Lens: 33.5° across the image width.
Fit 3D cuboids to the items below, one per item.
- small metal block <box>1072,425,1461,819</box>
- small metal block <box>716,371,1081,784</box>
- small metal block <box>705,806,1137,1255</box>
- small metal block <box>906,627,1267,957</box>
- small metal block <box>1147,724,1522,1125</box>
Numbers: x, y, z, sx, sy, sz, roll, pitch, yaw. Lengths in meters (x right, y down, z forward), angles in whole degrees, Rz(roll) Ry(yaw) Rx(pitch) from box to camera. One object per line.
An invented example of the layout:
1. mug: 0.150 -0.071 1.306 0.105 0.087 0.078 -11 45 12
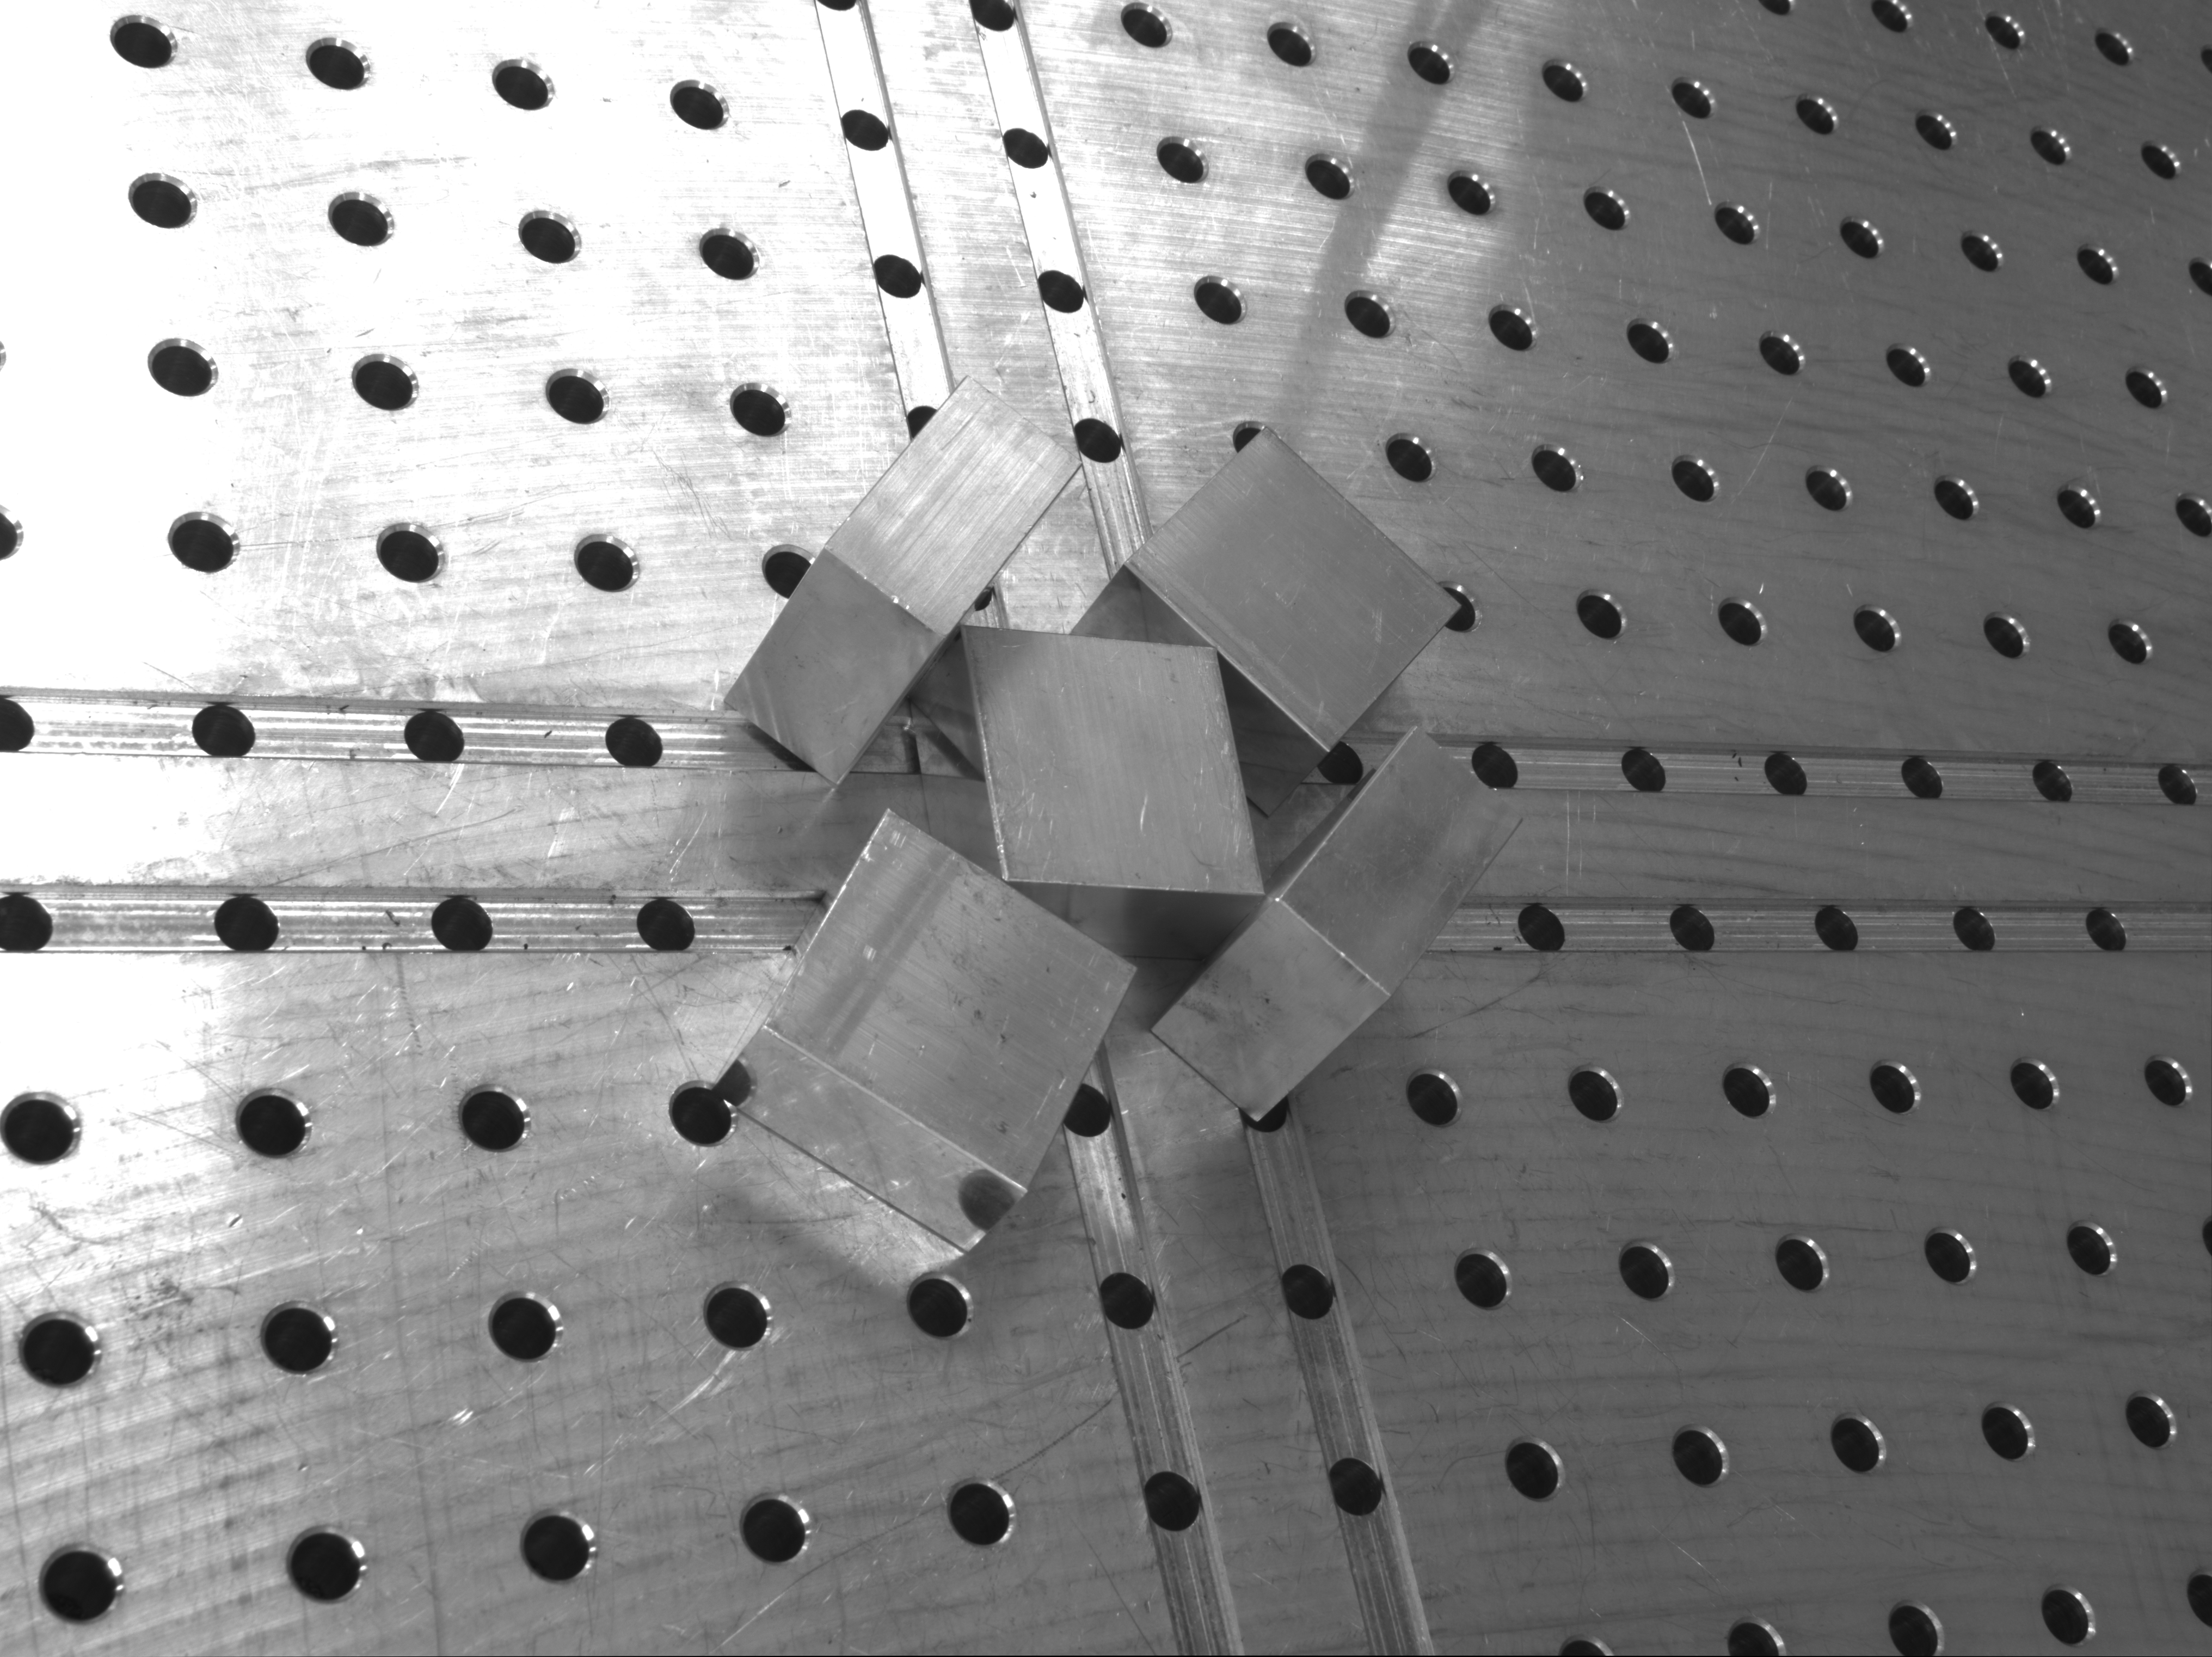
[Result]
1. small metal block: 0.029 -0.039 0.682 0.050 0.025 0.050 43 51 1
2. small metal block: -0.036 -0.043 0.633 0.025 0.050 0.050 38 52 -3
3. small metal block: -0.030 0.033 0.606 0.050 0.025 0.050 33 51 -7
4. small metal block: -0.004 -0.006 0.643 0.050 0.025 0.050 3 59 -25
5. small metal block: 0.039 0.017 0.637 0.025 0.050 0.050 40 51 0
